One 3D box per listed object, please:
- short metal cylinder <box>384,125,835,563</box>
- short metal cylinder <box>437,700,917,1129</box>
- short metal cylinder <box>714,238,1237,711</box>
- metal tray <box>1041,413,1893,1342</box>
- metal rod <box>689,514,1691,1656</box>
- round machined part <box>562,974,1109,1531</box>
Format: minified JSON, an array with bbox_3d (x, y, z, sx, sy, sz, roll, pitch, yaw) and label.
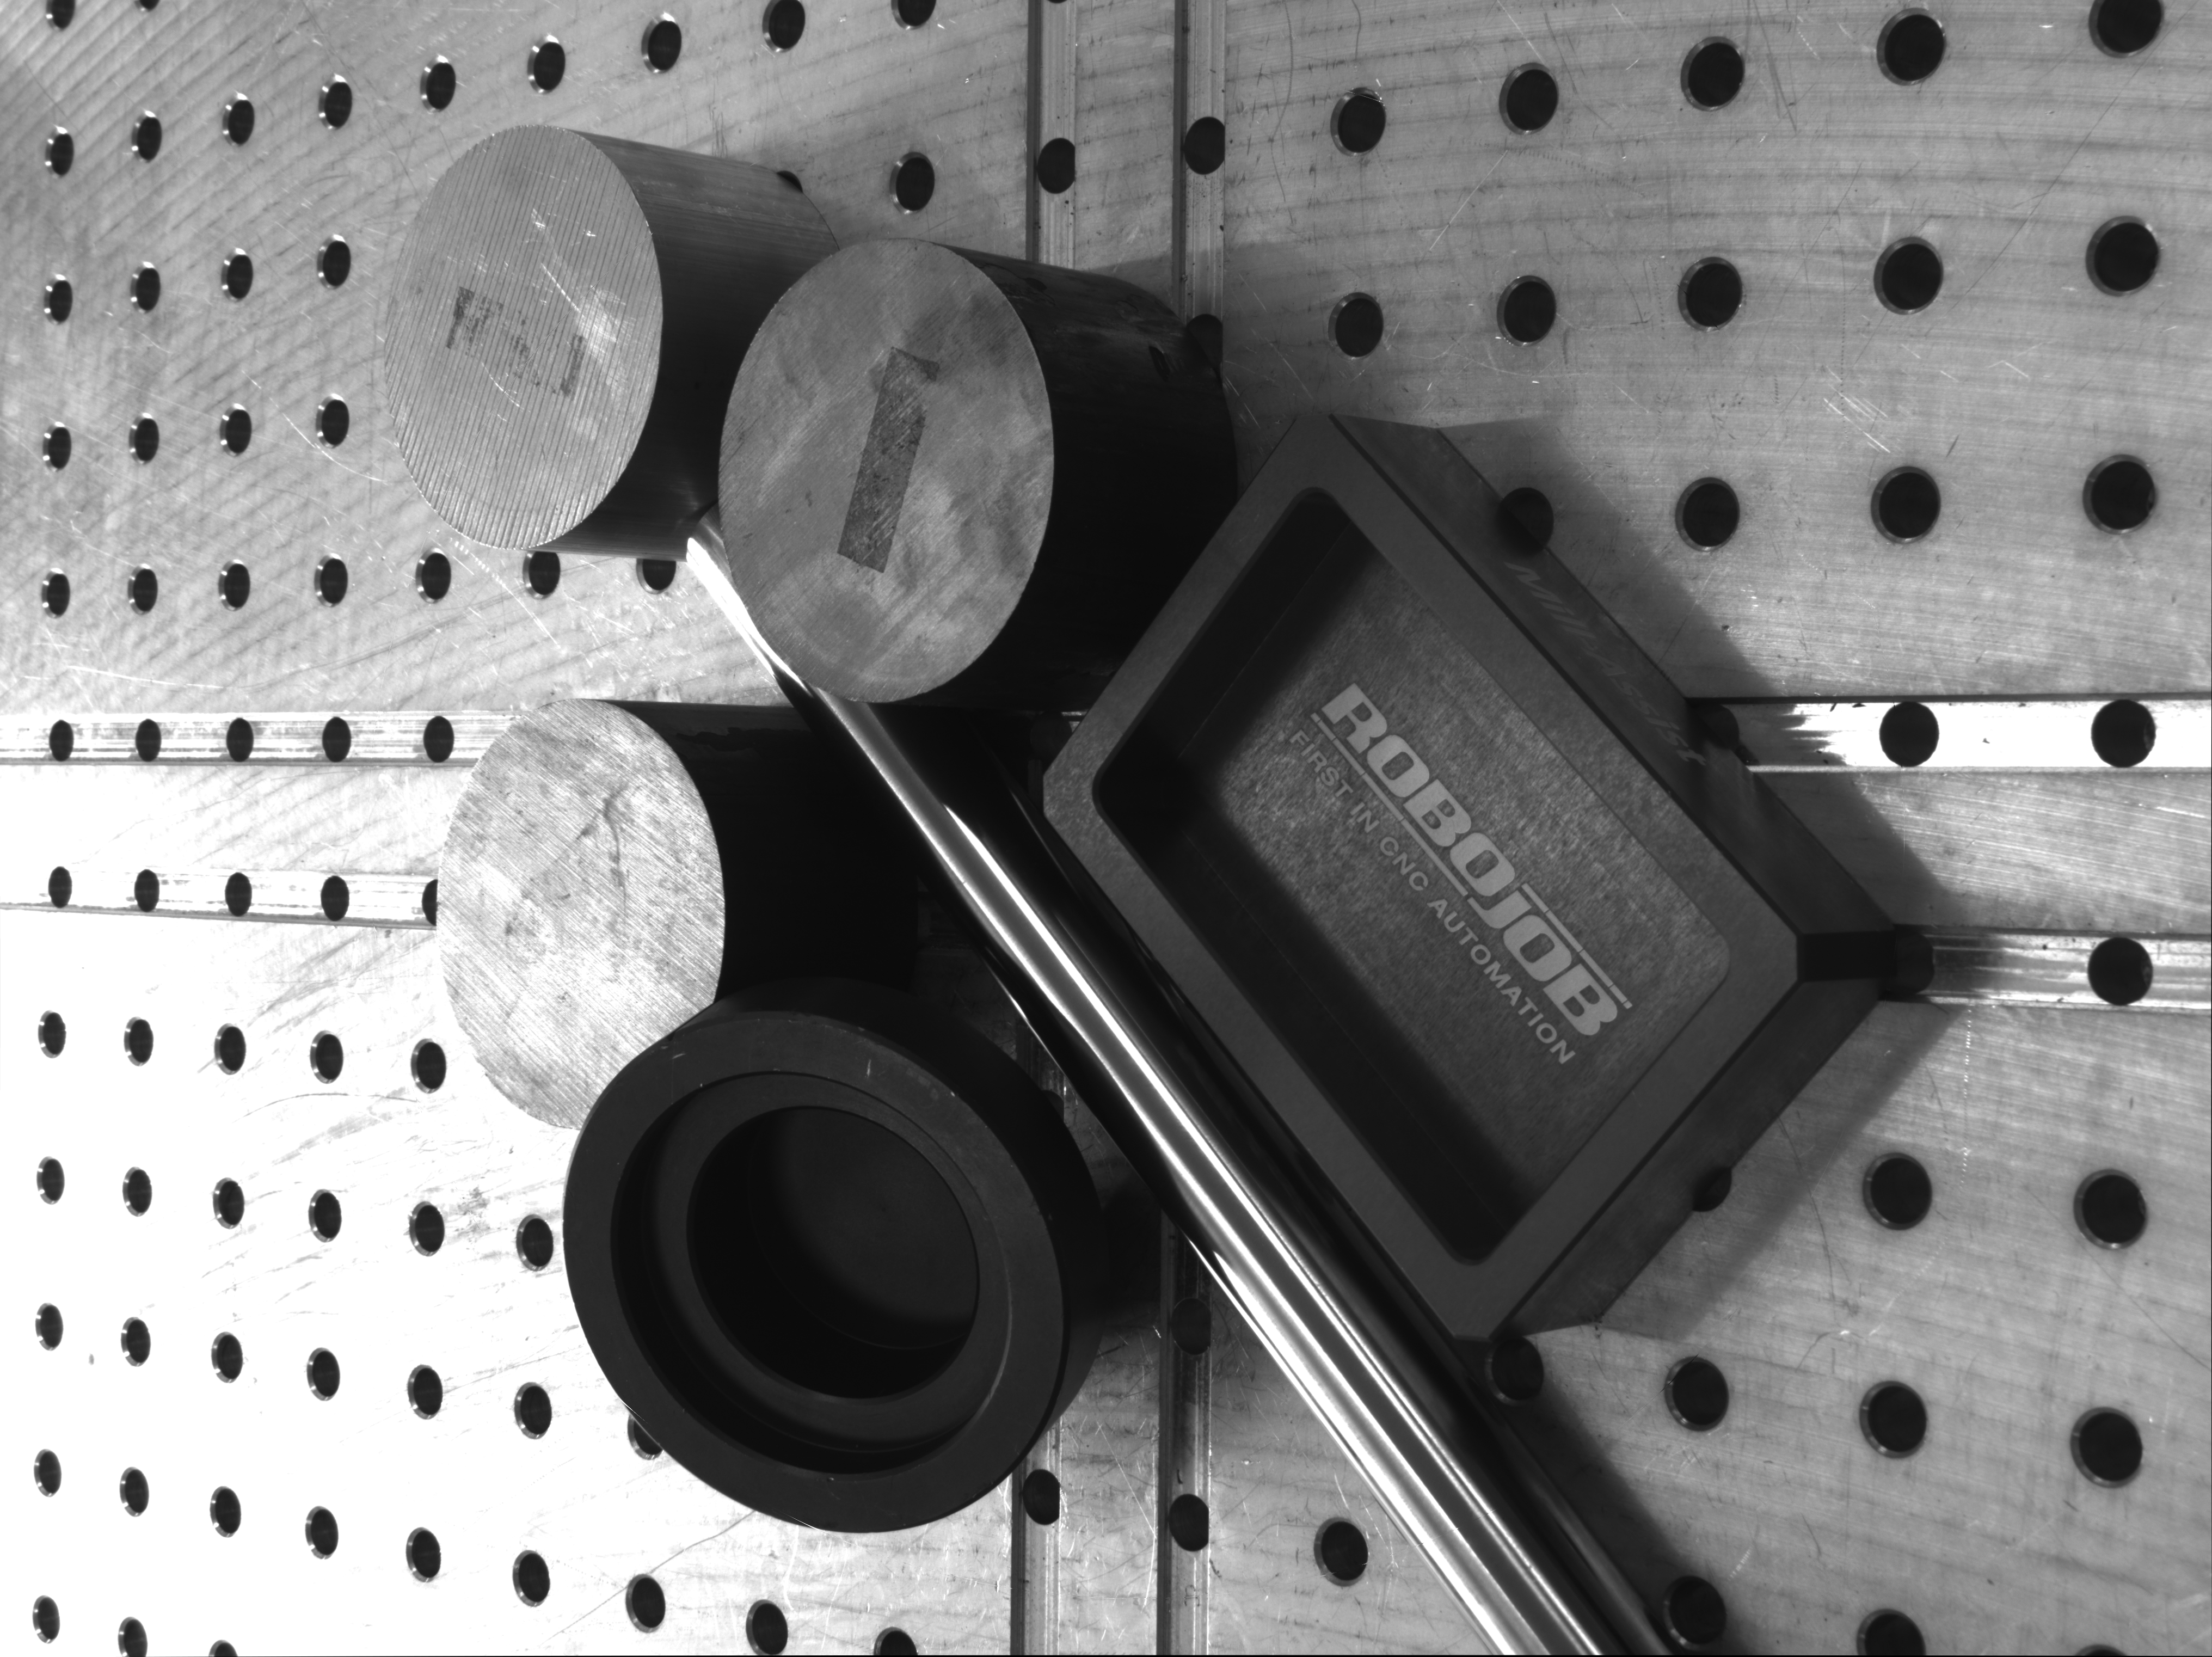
[{"bbox_3d":[-0.095,-0.093,0.712,0.080,0.050,0.080,0,90,40],"label":"short metal cylinder"},{"bbox_3d":[-0.082,0.016,0.701,0.080,0.050,0.080,0,90,40],"label":"short metal cylinder"},{"bbox_3d":[-0.024,-0.061,0.651,0.080,0.050,0.080,0,90,40],"label":"short metal cylinder"},{"bbox_3d":[0.055,0.007,0.598,0.130,0.030,0.090,51,121,28],"label":"metal tray"},{"bbox_3d":[0.012,0.047,0.638,0.299,0.025,0.025,52,121,27],"label":"metal rod"},{"bbox_3d":[-0.045,0.073,0.661,0.098,0.042,0.098,6,107,20],"label":"round machined part"}]
